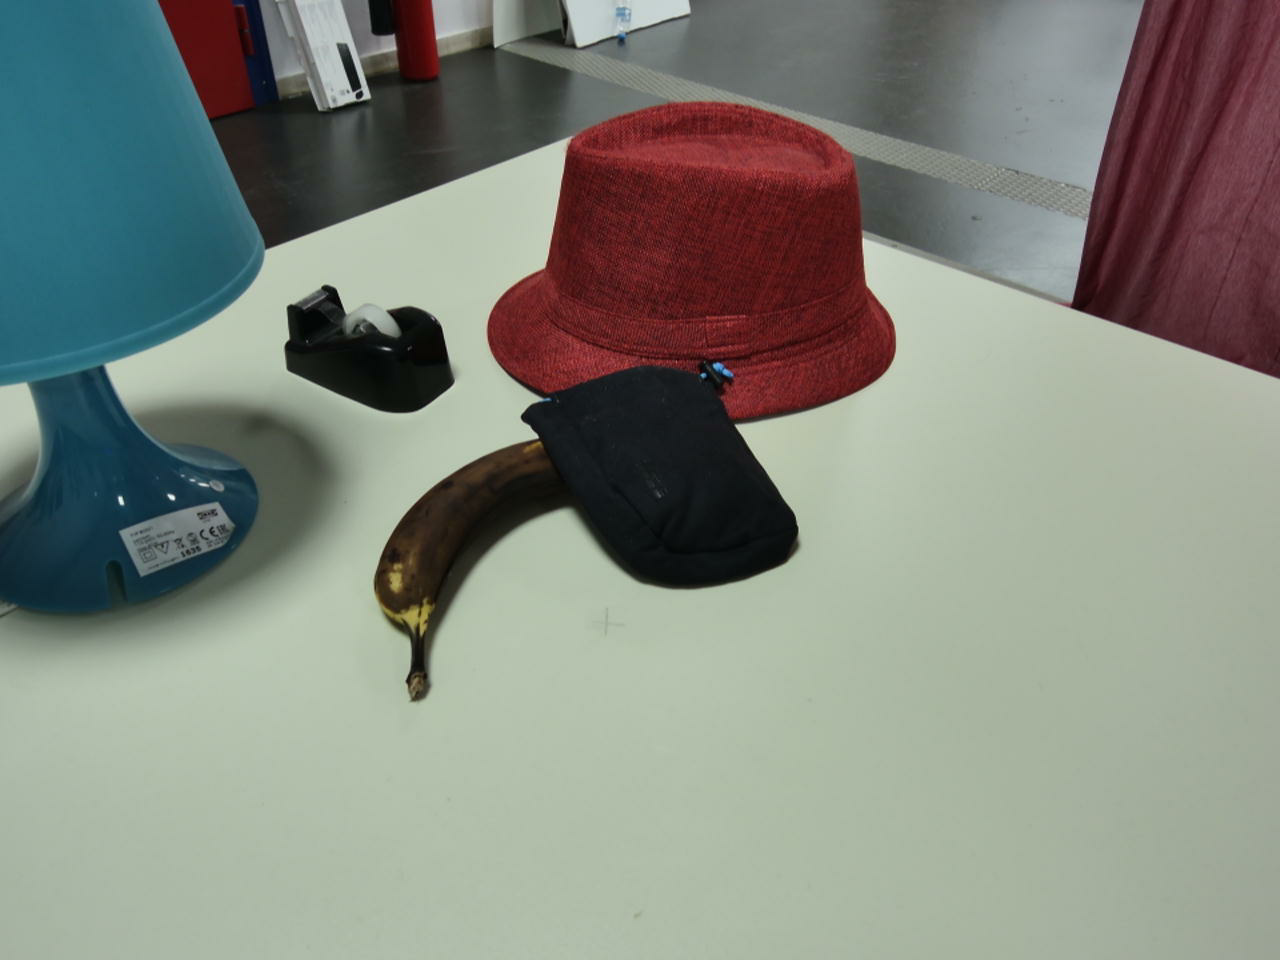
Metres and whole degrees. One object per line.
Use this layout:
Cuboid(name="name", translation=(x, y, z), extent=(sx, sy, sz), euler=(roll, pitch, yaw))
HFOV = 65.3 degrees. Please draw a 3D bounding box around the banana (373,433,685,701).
Cuboid(name="banana", translation=(-0.066, 0.020, 0.491), extent=(0.091, 0.034, 0.188), euler=(28, 45, 31))
